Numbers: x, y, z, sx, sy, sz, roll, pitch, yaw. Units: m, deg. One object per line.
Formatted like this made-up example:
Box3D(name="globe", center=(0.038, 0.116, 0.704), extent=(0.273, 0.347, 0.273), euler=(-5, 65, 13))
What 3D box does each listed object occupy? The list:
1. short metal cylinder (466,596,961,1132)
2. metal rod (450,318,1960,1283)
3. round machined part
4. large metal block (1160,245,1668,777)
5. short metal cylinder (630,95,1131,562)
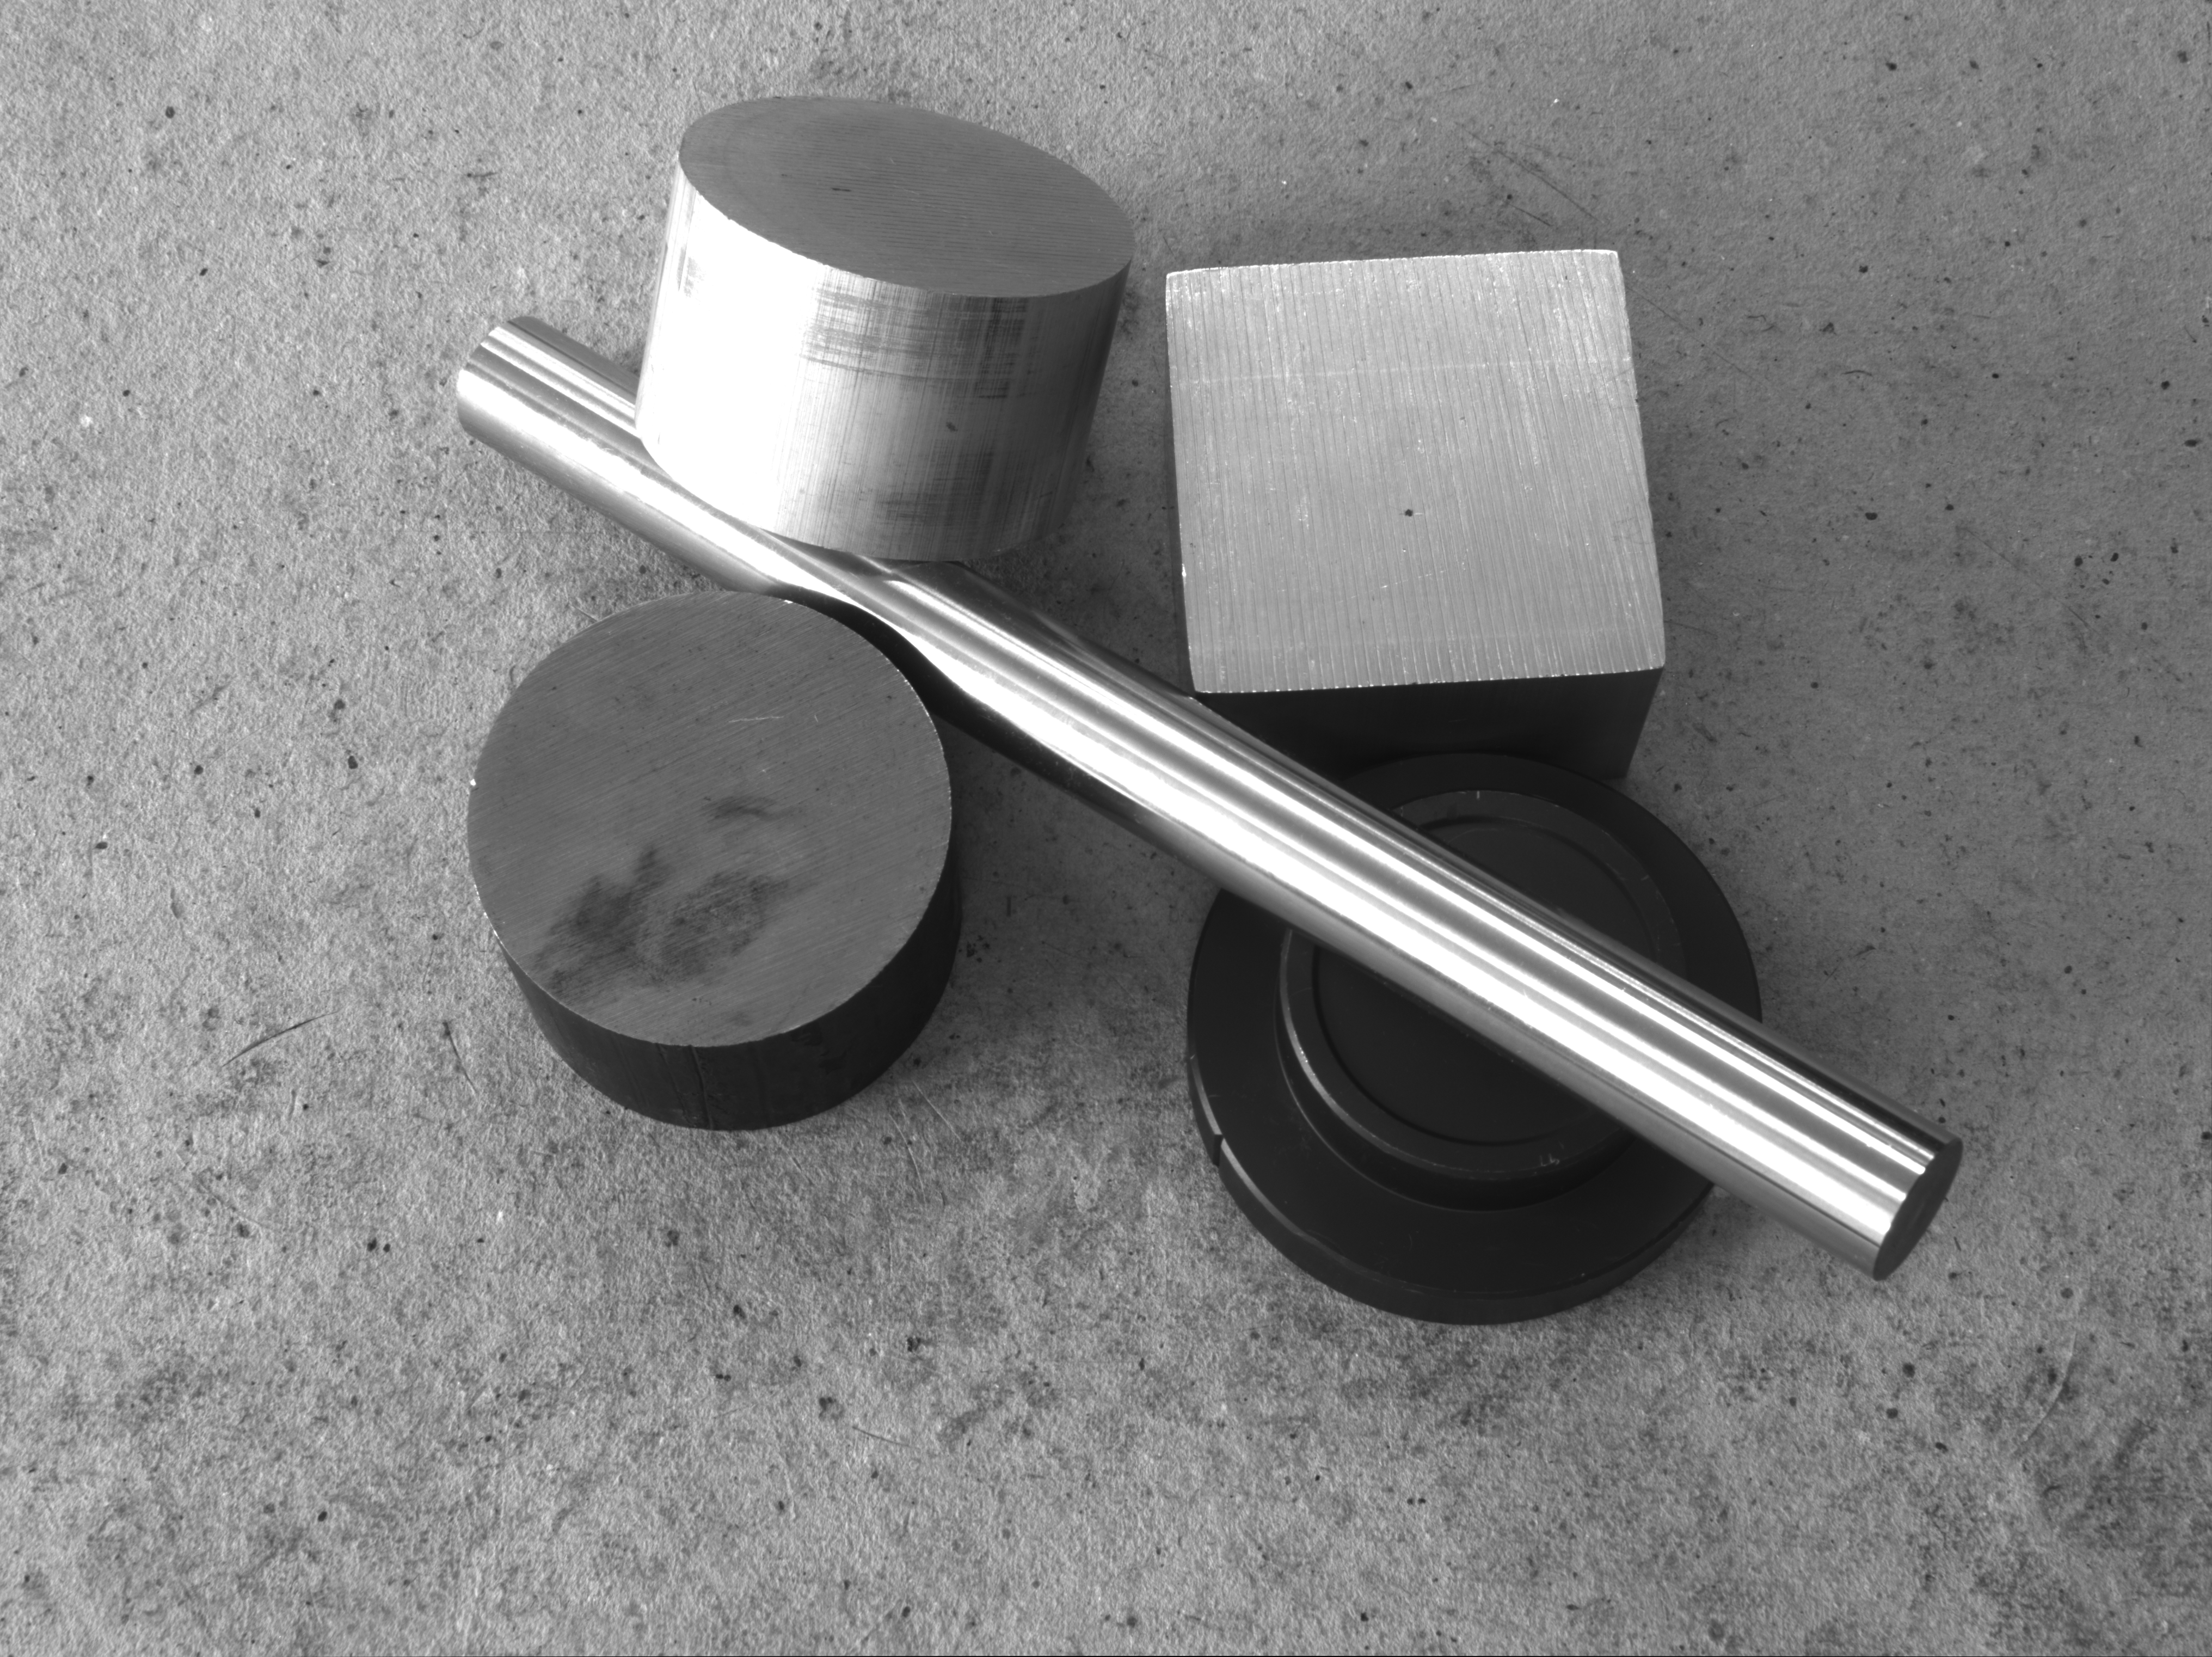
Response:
Box3D(name="short metal cylinder", center=(-0.066, 0.007, 0.631), extent=(0.080, 0.050, 0.080), euler=(0, 70, 0))
Box3D(name="metal rod", center=(0.005, -0.013, 0.614), extent=(0.299, 0.025, 0.025), euler=(31, 72, 25))
Box3D(name="round machined part", center=(0.062, 0.032, 0.624), extent=(0.098, 0.042, 0.098), euler=(0, 70, 0))
Box3D(name="large metal block", center=(0.052, -0.054, 0.650), extent=(0.080, 0.050, 0.080), euler=(-3, 70, -1))
Box3D(name="short metal cylinder", center=(-0.040, -0.089, 0.645), extent=(0.080, 0.050, 0.080), euler=(11, 31, -7))
